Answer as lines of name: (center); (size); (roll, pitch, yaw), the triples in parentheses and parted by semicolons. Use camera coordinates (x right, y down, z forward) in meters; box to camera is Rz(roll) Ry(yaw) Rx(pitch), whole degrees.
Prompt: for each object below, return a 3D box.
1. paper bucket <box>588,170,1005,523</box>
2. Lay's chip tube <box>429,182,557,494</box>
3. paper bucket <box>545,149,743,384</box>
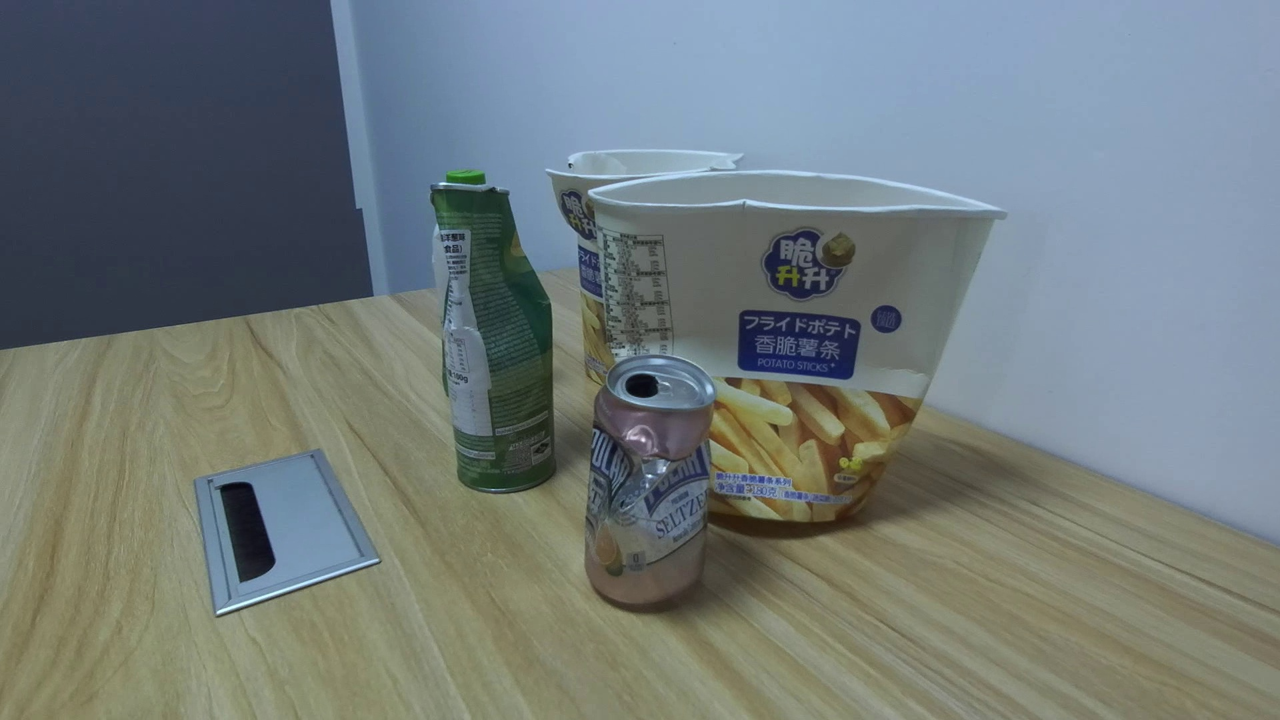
paper bucket: (0.088, -0.013, 0.451); (0.218, 0.199, 0.147); (-8, 24, -20)
Lay's chip tube: (-0.099, -0.016, 0.472); (0.079, 0.199, 0.070); (-17, 20, -42)
paper bucket: (0.018, -0.079, 0.623); (0.146, 0.197, 0.202); (0, 20, 6)
